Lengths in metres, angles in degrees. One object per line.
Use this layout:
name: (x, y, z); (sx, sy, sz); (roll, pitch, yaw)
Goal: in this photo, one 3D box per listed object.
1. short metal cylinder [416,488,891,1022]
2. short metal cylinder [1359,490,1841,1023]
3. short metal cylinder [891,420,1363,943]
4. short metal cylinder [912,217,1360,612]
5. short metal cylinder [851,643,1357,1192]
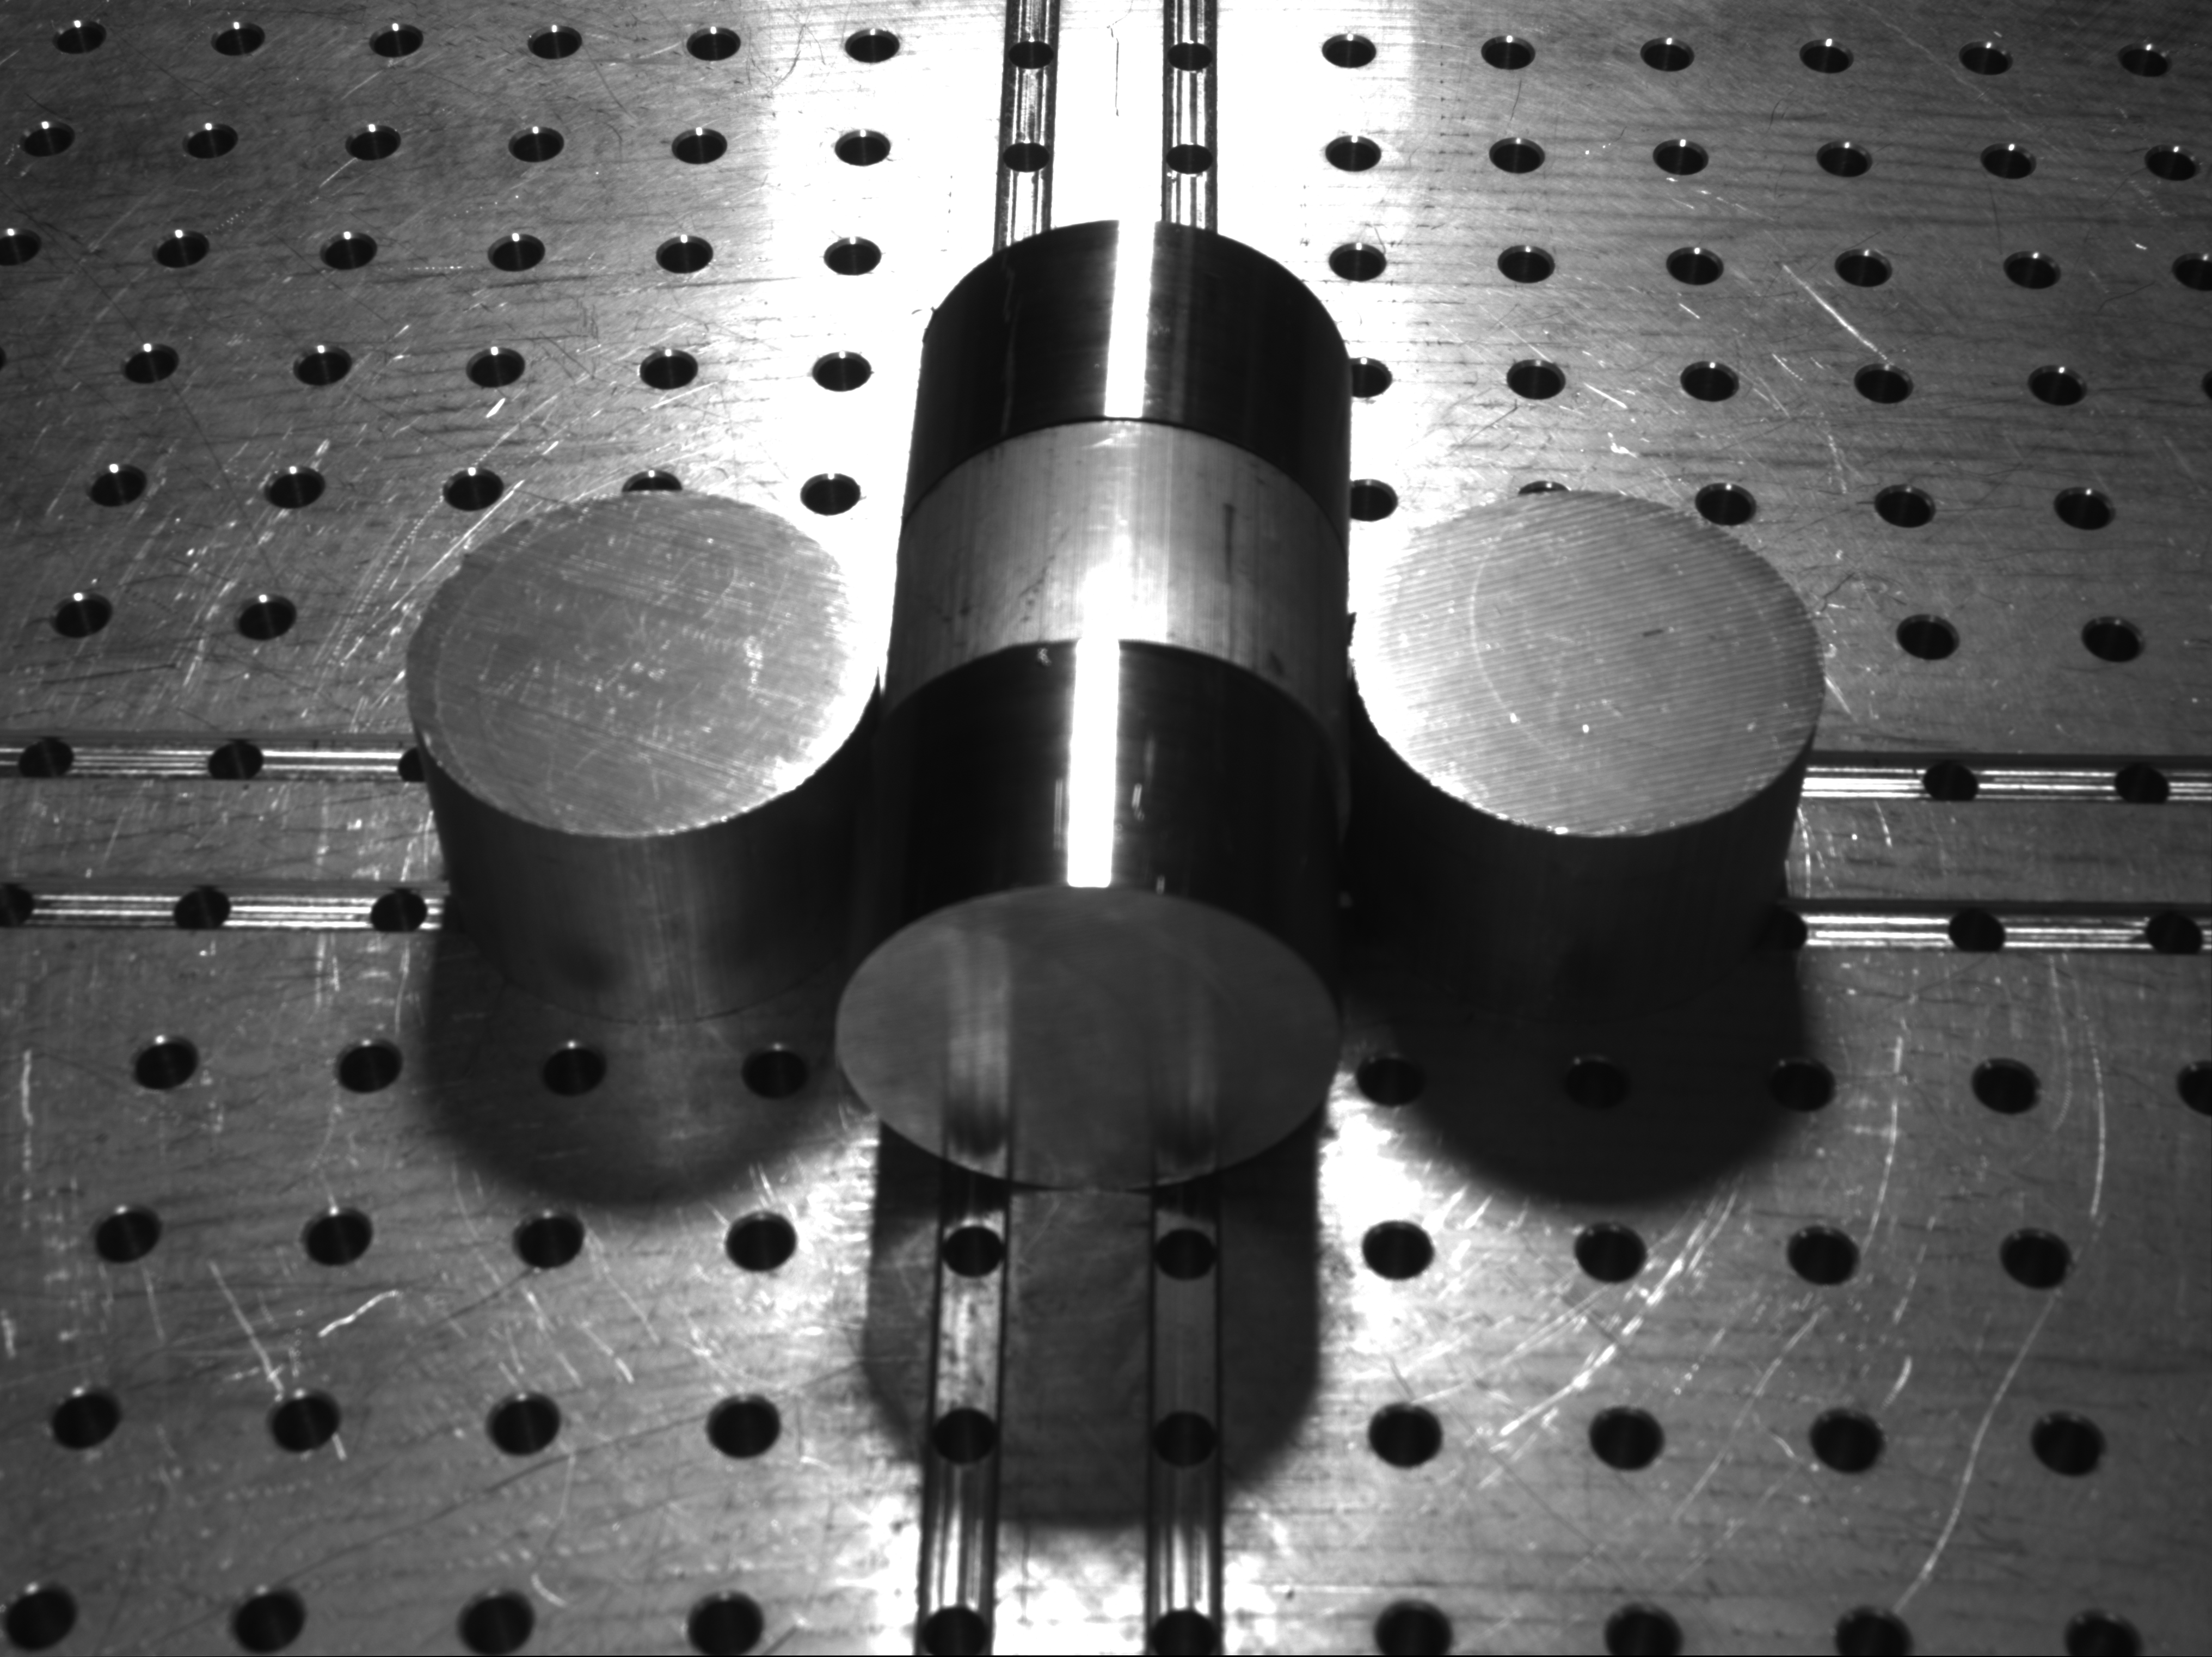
short metal cylinder: (-0.076, -0.013, 0.639); (0.080, 0.050, 0.080); (0, 50, 0)
short metal cylinder: (0.084, -0.013, 0.639); (0.080, 0.050, 0.080); (0, 50, 0)
short metal cylinder: (0.004, -0.024, 0.629); (0.080, 0.080, 0.050); (2, 50, 1)
short metal cylinder: (0.006, -0.063, 0.662); (0.080, 0.080, 0.050); (2, 50, 2)
short metal cylinder: (0.000, 0.016, 0.596); (0.080, 0.080, 0.050); (1, 50, 1)
